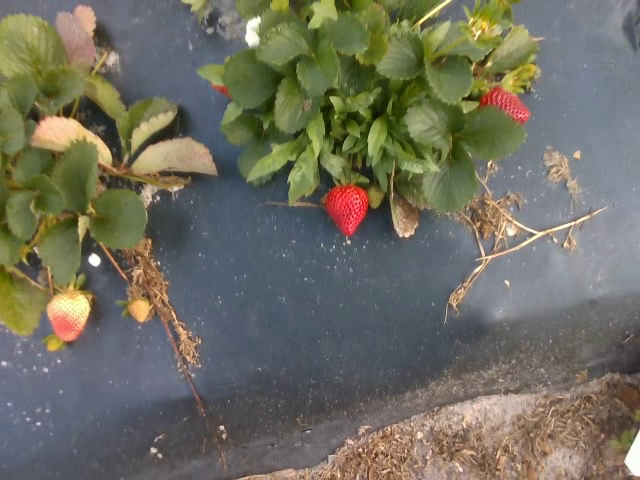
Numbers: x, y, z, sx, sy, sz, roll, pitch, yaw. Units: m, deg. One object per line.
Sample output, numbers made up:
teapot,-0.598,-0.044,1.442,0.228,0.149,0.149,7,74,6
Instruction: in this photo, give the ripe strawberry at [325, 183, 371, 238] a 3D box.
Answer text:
ripe strawberry,0.024,-0.027,0.523,0.043,0.051,0.043,-5,-8,-1

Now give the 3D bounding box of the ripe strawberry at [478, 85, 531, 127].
ripe strawberry,0.162,-0.112,0.520,0.046,0.043,0.046,18,18,23
